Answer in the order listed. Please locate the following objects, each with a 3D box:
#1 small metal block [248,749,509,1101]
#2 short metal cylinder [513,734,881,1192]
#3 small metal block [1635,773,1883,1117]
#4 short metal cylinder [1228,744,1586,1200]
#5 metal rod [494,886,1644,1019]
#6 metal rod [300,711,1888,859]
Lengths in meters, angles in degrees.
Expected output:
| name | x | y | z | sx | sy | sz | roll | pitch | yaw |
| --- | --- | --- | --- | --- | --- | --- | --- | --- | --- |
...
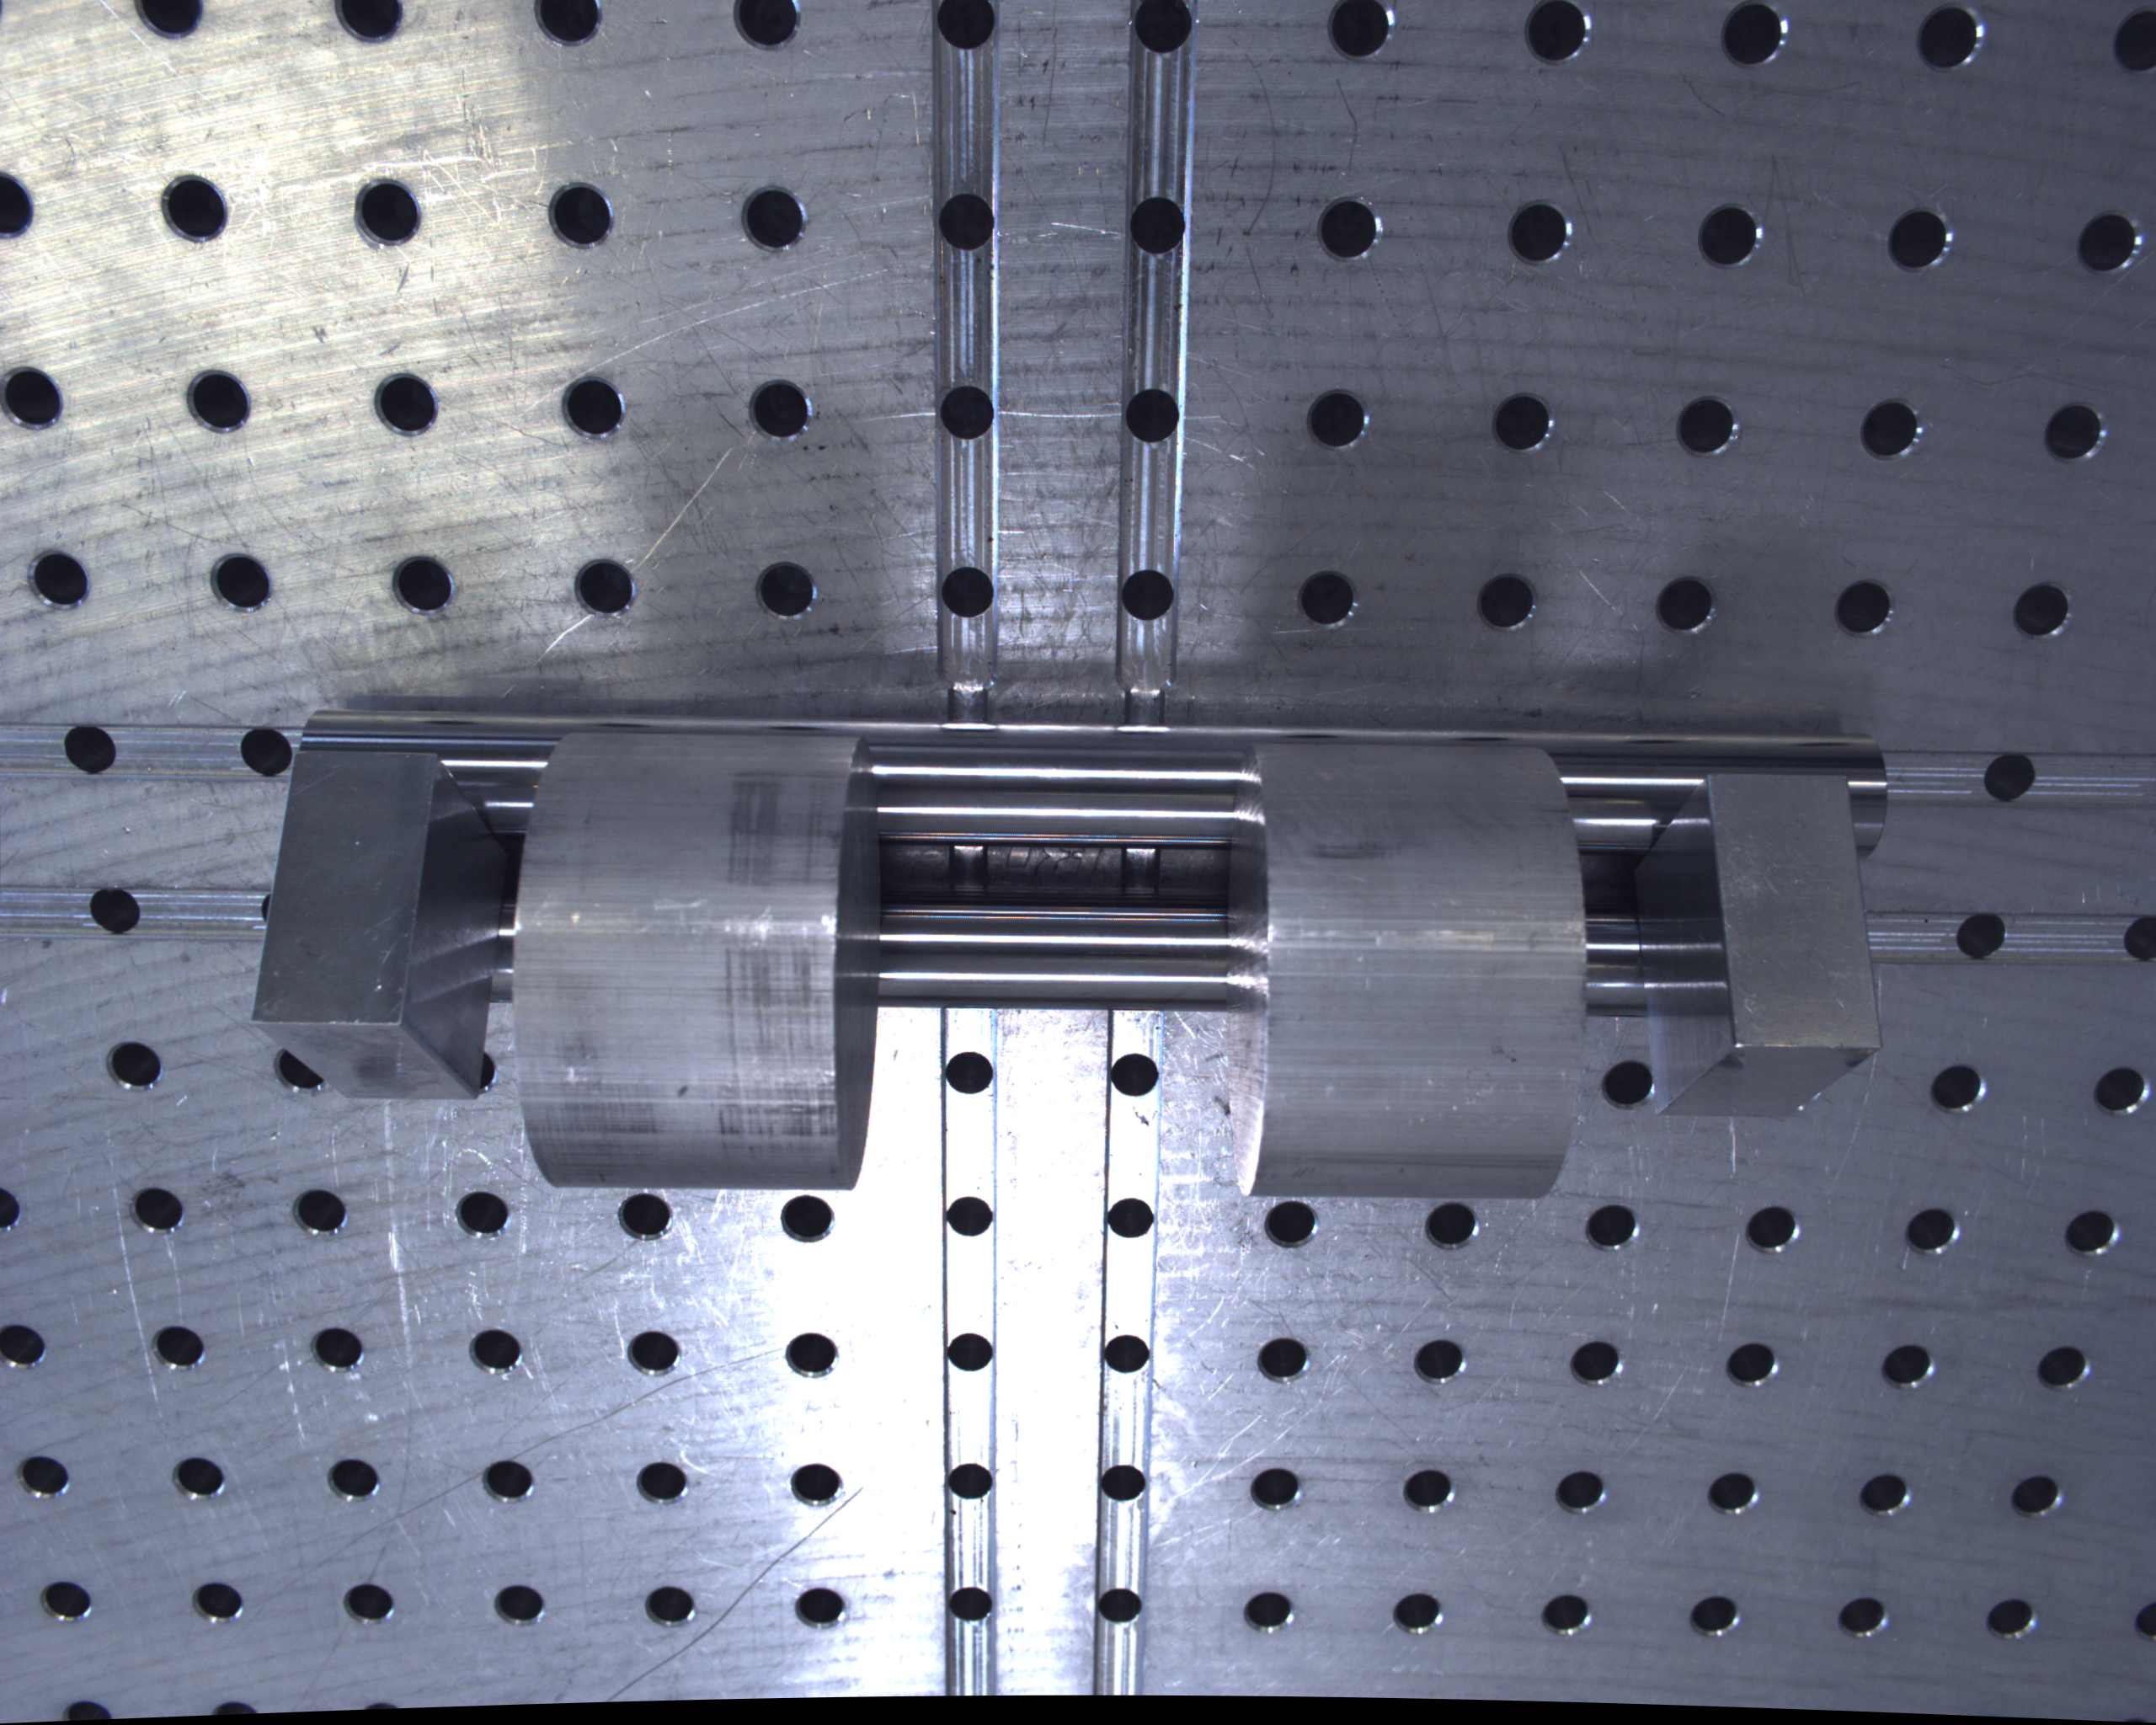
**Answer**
| name | x | y | z | sx | sy | sz | roll | pitch | yaw |
| --- | --- | --- | --- | --- | --- | --- | --- | --- | --- |
| small metal block | -0.125 | 0.013 | 0.380 | 0.025 | 0.050 | 0.050 | 1 | 68 | 0 |
| short metal cylinder | -0.063 | 0.017 | 0.366 | 0.050 | 0.080 | 0.079 | 1 | 110 | 0 |
| small metal block | 0.123 | 0.016 | 0.383 | 0.025 | 0.050 | 0.050 | 1 | 69 | 0 |
| short metal cylinder | 0.055 | 0.019 | 0.368 | 0.050 | 0.080 | 0.079 | 1 | 110 | 0 |
| metal rod | 0.000 | 0.018 | 0.420 | 0.302 | 0.025 | 0.025 | 1 | 110 | -1 |
| metal rod | 0.003 | -0.015 | 0.408 | 0.302 | 0.025 | 0.025 | 1 | 110 | -1 |
